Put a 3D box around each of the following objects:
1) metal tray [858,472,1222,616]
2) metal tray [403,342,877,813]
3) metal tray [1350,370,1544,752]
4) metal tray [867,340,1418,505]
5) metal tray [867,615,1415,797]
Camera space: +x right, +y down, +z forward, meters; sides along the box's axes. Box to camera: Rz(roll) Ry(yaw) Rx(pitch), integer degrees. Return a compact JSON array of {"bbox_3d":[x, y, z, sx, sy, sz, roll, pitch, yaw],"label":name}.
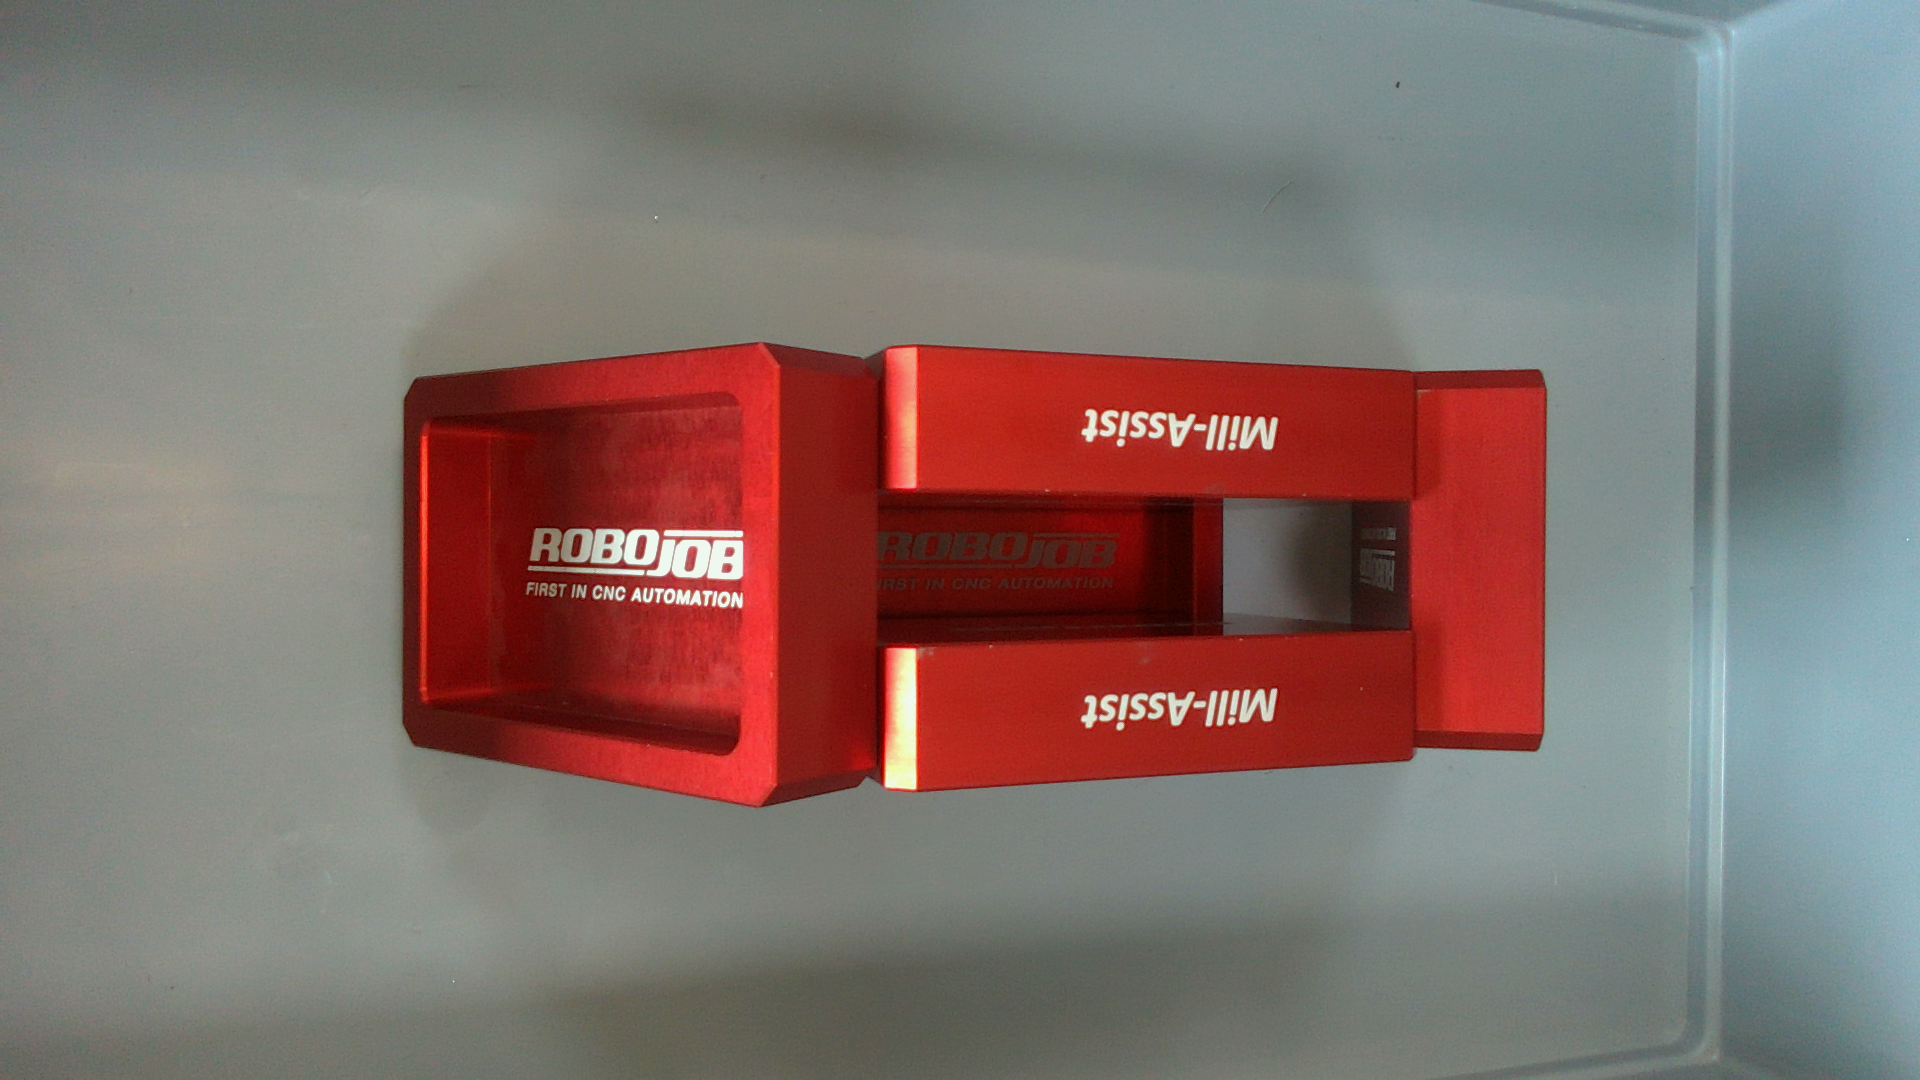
[{"bbox_3d":[0.011,0.006,0.394,0.130,0.030,0.090,0,90,-21],"label":"metal tray"},{"bbox_3d":[-0.077,0.006,0.310,0.030,0.129,0.090,0,91,-52],"label":"metal tray"},{"bbox_3d":[0.132,0.005,0.386,0.030,0.130,0.090,0,90,10],"label":"metal tray"},{"bbox_3d":[0.032,-0.025,0.337,0.130,0.090,0.030,0,90,-20],"label":"metal tray"},{"bbox_3d":[0.032,0.036,0.337,0.130,0.090,0.030,0,90,-20],"label":"metal tray"}]
